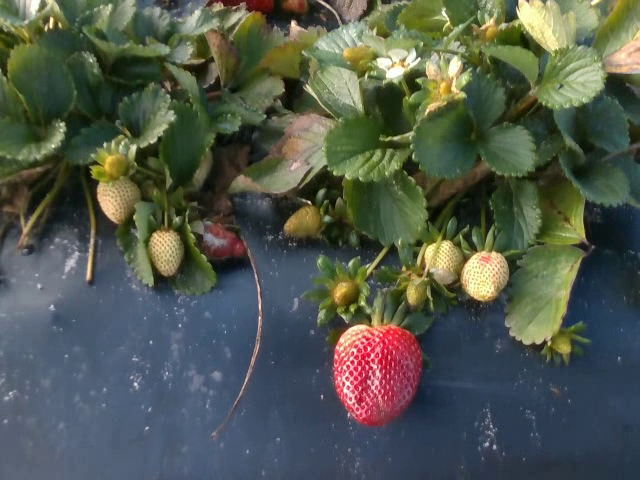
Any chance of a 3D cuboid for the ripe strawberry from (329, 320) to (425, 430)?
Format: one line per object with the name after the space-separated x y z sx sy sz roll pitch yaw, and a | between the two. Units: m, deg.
0.032 0.078 0.359 0.052 0.045 0.068 6 40 2 | ripe strawberry
